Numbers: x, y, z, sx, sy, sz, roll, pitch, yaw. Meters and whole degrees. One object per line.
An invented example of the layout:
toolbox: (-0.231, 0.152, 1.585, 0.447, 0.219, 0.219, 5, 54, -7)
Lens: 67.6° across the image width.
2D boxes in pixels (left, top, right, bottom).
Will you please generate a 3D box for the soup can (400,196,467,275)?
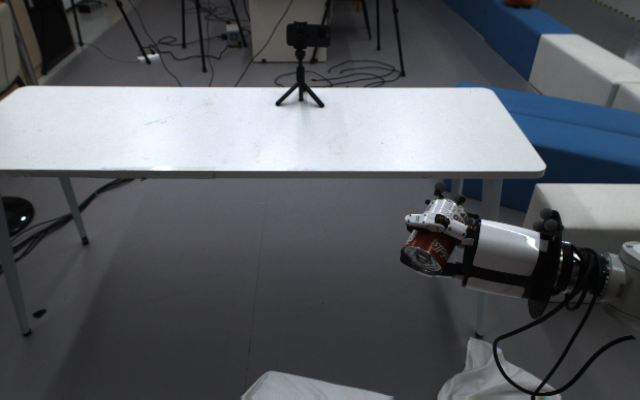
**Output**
soup can: (0.178, 0.053, 0.737, 0.067, 0.067, 0.101, 22, 60, 26)
